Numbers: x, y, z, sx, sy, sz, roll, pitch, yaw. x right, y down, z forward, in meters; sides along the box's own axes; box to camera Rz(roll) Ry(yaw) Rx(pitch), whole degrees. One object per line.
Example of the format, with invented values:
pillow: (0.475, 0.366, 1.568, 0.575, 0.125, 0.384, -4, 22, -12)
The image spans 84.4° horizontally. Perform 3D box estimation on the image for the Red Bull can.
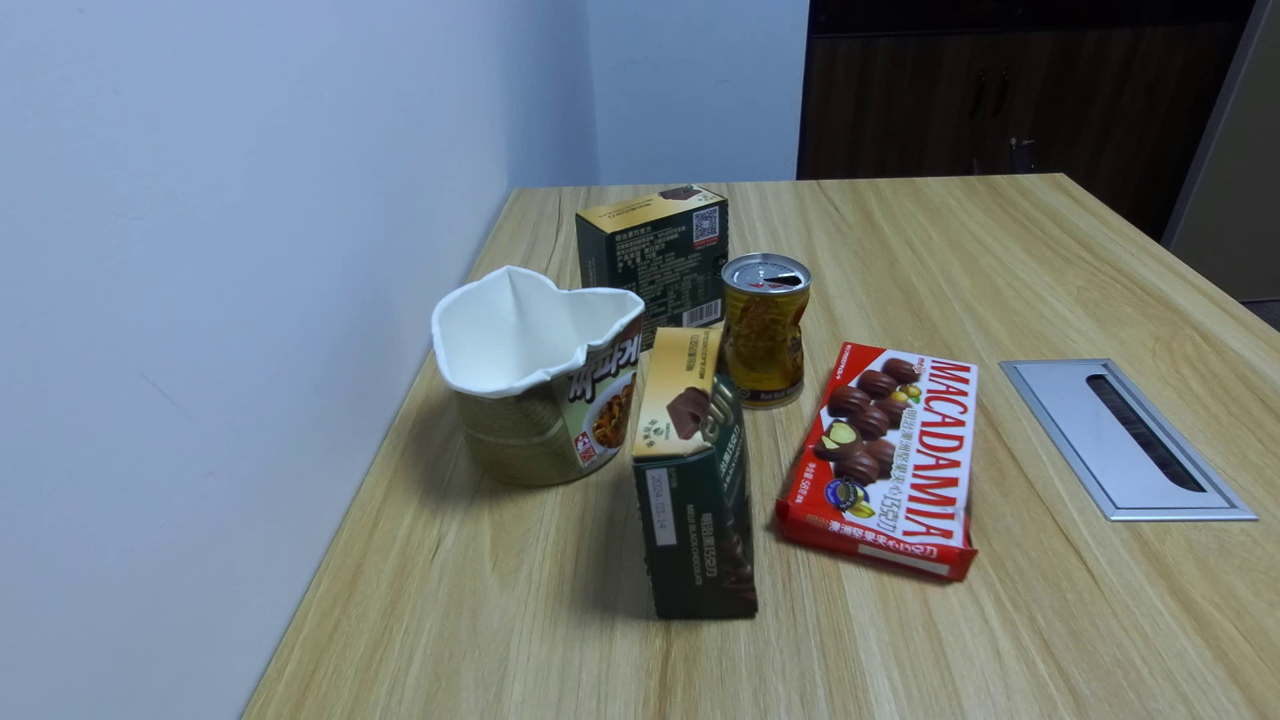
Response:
Red Bull can: (0.085, -0.020, 0.493, 0.072, 0.092, 0.072, -1, 33, 1)

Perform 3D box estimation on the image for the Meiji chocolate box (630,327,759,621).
Meiji chocolate box: (0.030, 0.055, 0.371, 0.051, 0.117, 0.117, -6, 32, 10)

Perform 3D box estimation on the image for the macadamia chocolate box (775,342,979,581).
macadamia chocolate box: (0.156, 0.053, 0.443, 0.105, 0.028, 0.183, 12, 38, 19)

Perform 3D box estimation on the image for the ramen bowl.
ramen bowl: (-0.070, 0.014, 0.449, 0.113, 0.098, 0.134, 14, 36, 21)

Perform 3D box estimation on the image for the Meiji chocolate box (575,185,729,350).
Meiji chocolate box: (0.012, -0.074, 0.564, 0.113, 0.111, 0.058, -21, 37, -25)
